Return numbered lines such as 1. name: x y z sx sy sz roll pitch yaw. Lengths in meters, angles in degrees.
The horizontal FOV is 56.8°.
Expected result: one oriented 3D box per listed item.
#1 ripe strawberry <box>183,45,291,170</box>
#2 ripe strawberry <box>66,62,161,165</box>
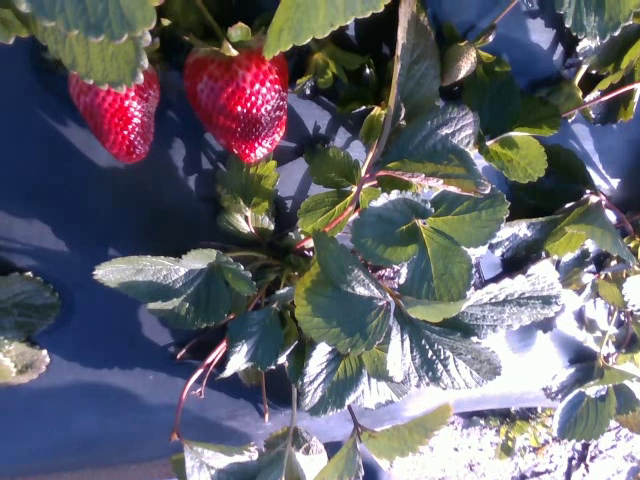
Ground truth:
1. ripe strawberry: -0.033 -0.060 0.268 0.052 0.058 0.046 -6 20 14
2. ripe strawberry: -0.087 -0.054 0.255 0.043 0.052 0.037 -9 22 23
